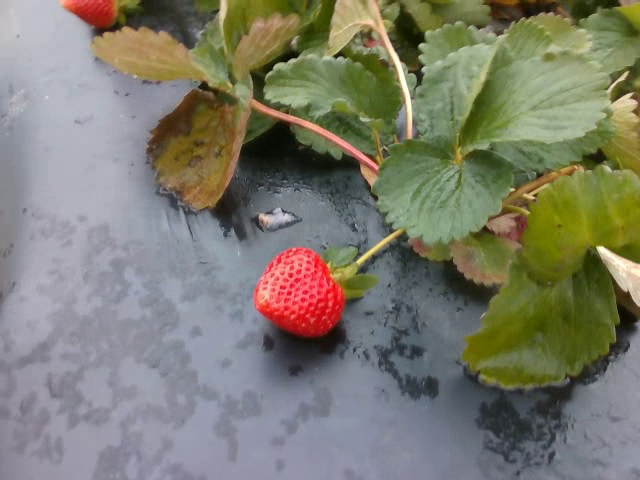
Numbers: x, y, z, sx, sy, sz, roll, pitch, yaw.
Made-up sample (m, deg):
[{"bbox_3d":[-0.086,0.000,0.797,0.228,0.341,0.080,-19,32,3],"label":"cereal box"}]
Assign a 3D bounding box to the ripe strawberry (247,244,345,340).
[{"bbox_3d":[-0.012,0.026,0.288,0.045,0.048,0.053,17,20,42],"label":"ripe strawberry"}]
